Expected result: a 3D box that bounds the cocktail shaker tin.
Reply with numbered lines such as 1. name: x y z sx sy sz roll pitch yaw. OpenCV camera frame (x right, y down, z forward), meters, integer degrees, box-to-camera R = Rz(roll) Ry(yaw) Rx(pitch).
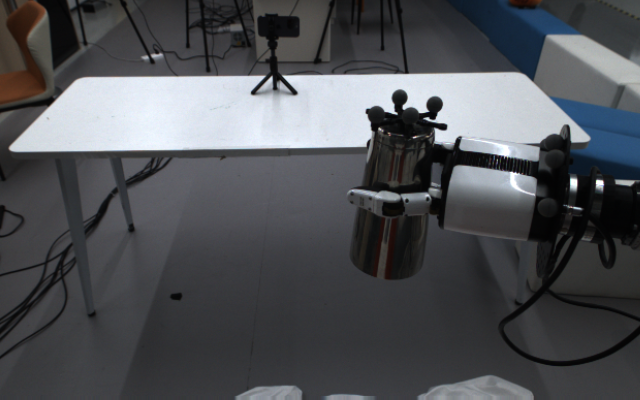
1. cocktail shaker tin: 0.089 -0.005 0.557 0.093 0.170 0.093 2 30 -1
